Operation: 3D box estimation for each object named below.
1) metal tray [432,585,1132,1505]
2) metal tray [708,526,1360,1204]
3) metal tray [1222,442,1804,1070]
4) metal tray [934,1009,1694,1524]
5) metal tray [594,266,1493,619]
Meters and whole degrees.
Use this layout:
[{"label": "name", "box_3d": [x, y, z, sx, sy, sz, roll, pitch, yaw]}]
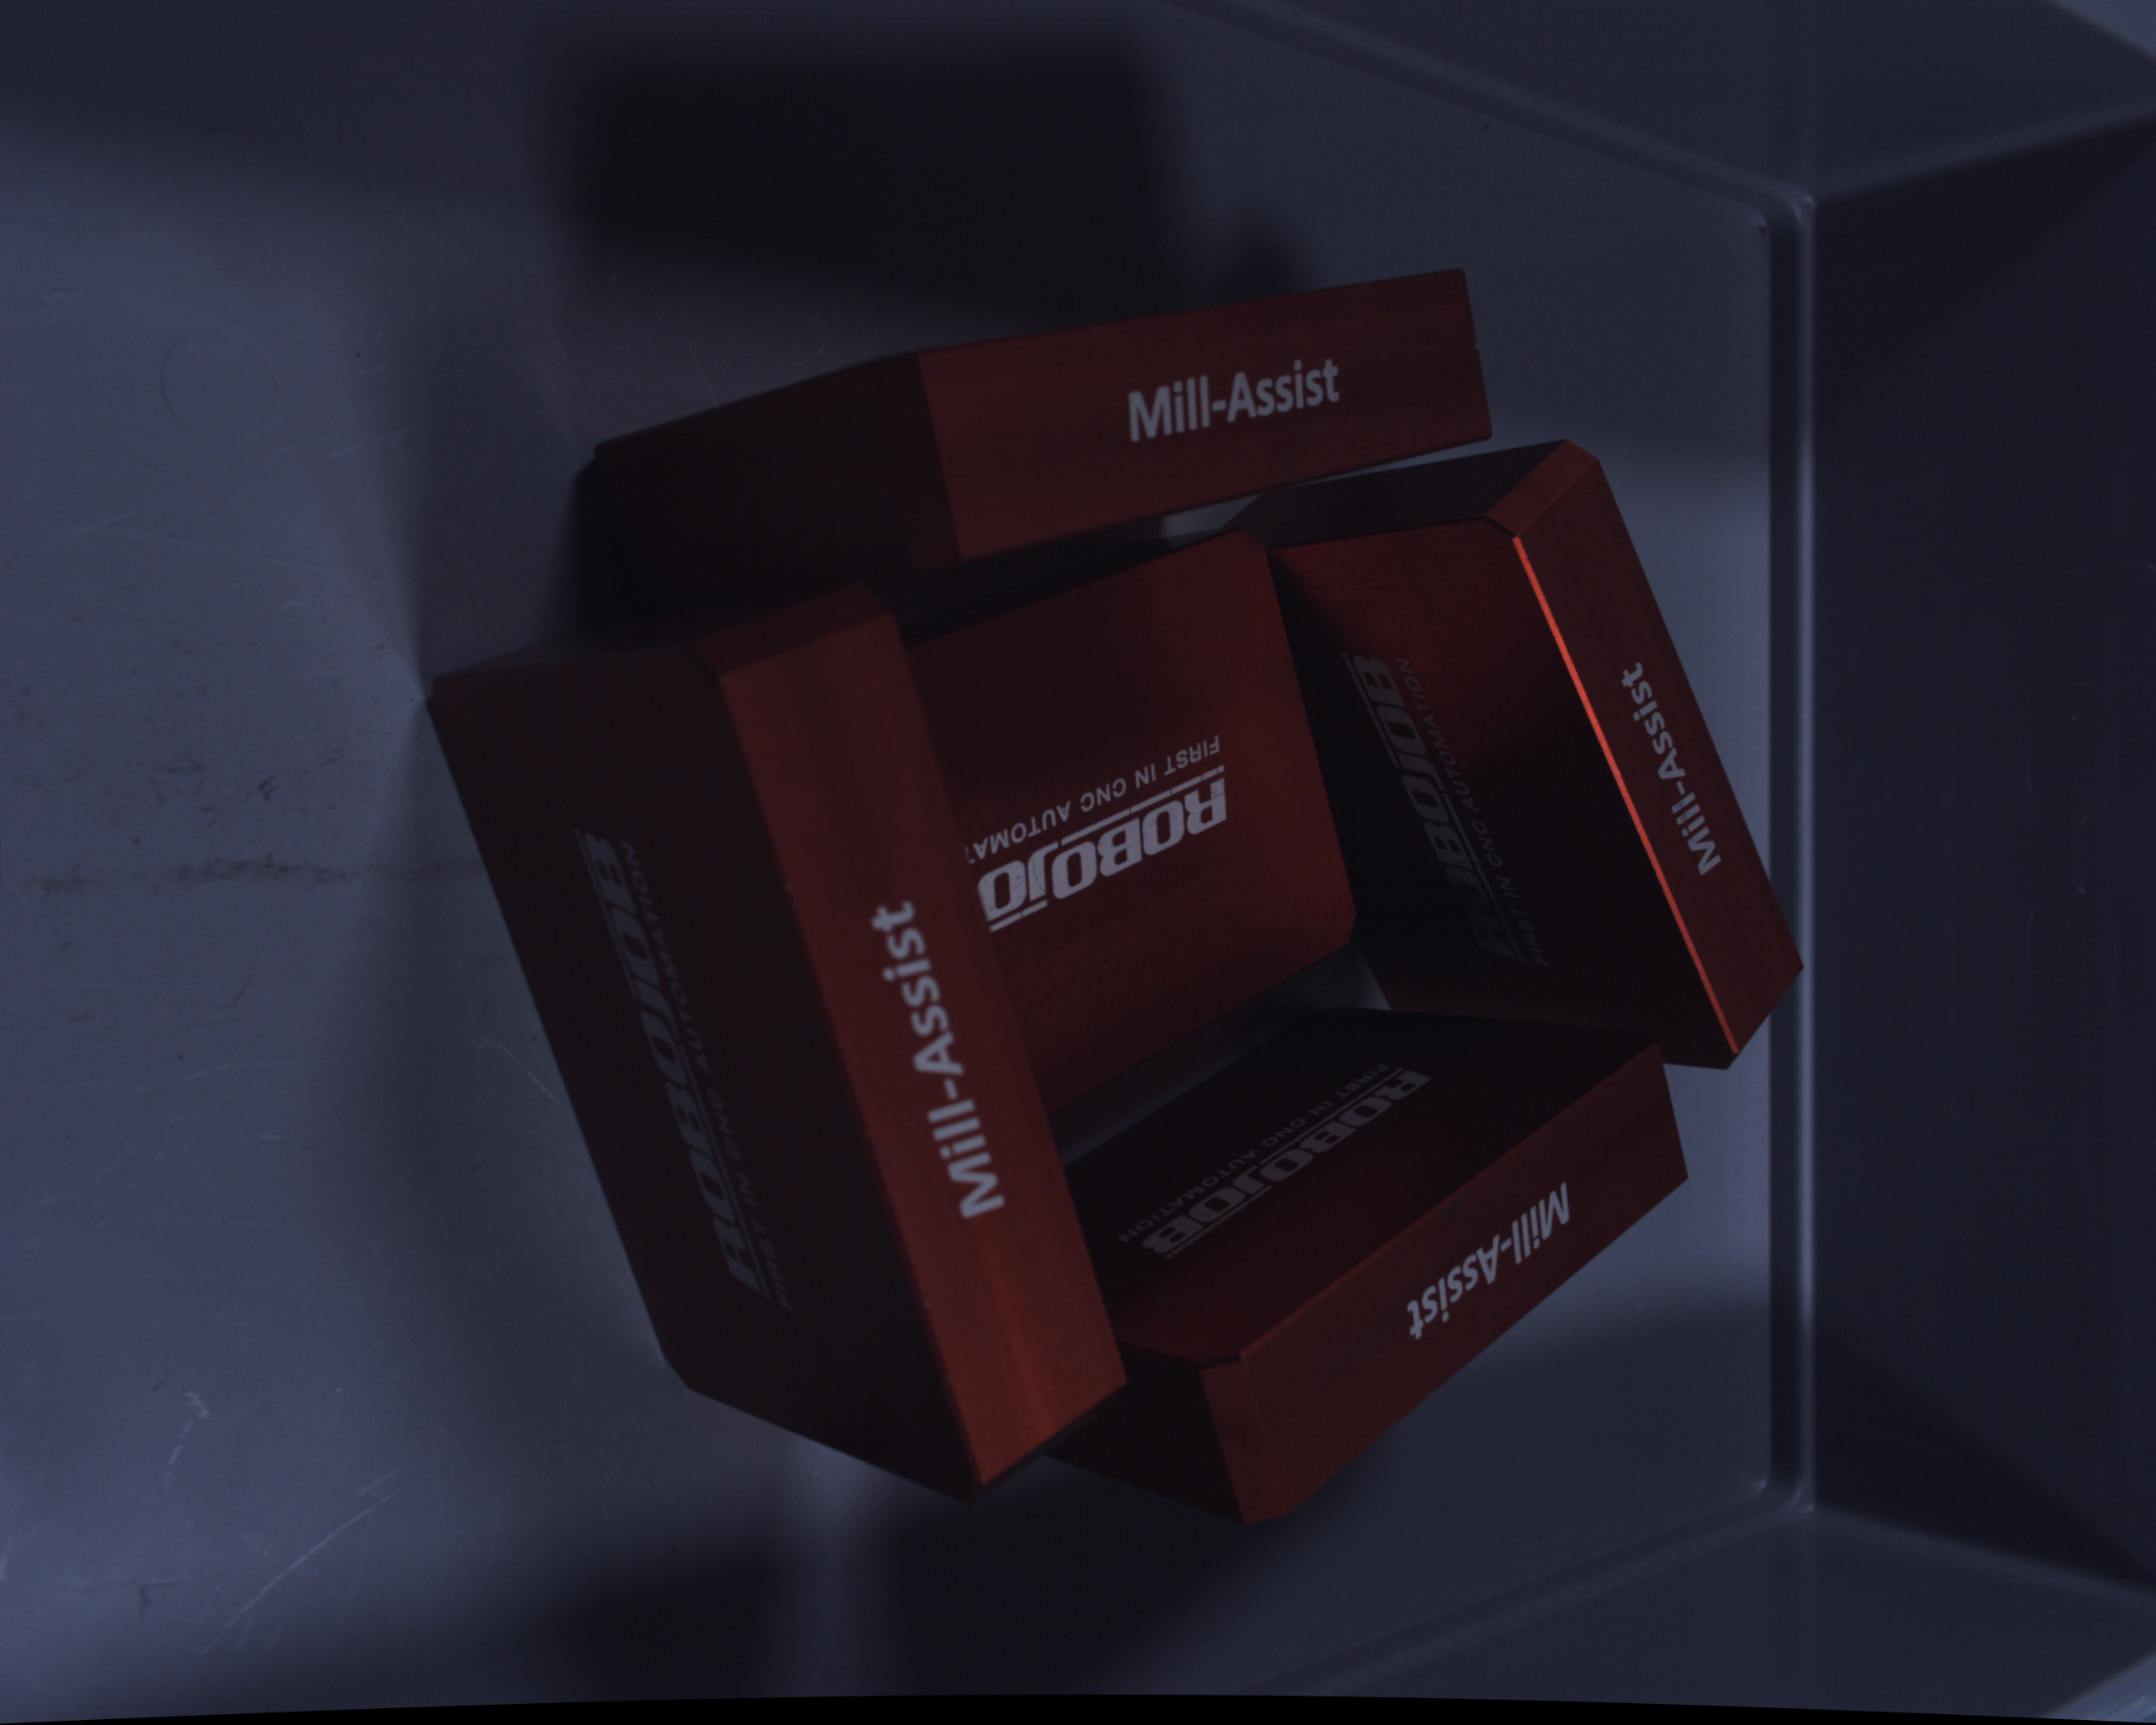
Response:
[{"label": "metal tray", "box_3d": [-0.048, 0.027, 0.323, 0.030, 0.090, 0.129, -27, 107, -37]}, {"label": "metal tray", "box_3d": [-0.008, -0.004, 0.395, 0.131, 0.030, 0.089, -25, 106, -37]}, {"label": "metal tray", "box_3d": [0.086, -0.019, 0.437, 0.030, 0.090, 0.130, -44, 117, -31]}, {"label": "metal tray", "box_3d": [0.044, 0.070, 0.401, 0.131, 0.090, 0.030, -26, 107, -37]}, {"label": "metal tray", "box_3d": [-0.004, -0.073, 0.360, 0.131, 0.090, 0.030, -20, 103, -38]}]
